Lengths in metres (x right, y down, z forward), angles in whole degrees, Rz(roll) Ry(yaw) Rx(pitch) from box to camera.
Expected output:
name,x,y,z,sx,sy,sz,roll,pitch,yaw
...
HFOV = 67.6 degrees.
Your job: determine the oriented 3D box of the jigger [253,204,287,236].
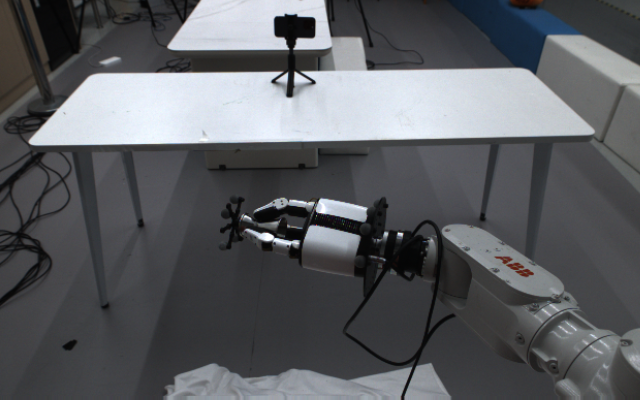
name,x,y,z,sx,sy,sz,roll,pitch,yaw
jigger,-0.087,0.042,0.785,0.071,0.043,0.043,8,35,17
